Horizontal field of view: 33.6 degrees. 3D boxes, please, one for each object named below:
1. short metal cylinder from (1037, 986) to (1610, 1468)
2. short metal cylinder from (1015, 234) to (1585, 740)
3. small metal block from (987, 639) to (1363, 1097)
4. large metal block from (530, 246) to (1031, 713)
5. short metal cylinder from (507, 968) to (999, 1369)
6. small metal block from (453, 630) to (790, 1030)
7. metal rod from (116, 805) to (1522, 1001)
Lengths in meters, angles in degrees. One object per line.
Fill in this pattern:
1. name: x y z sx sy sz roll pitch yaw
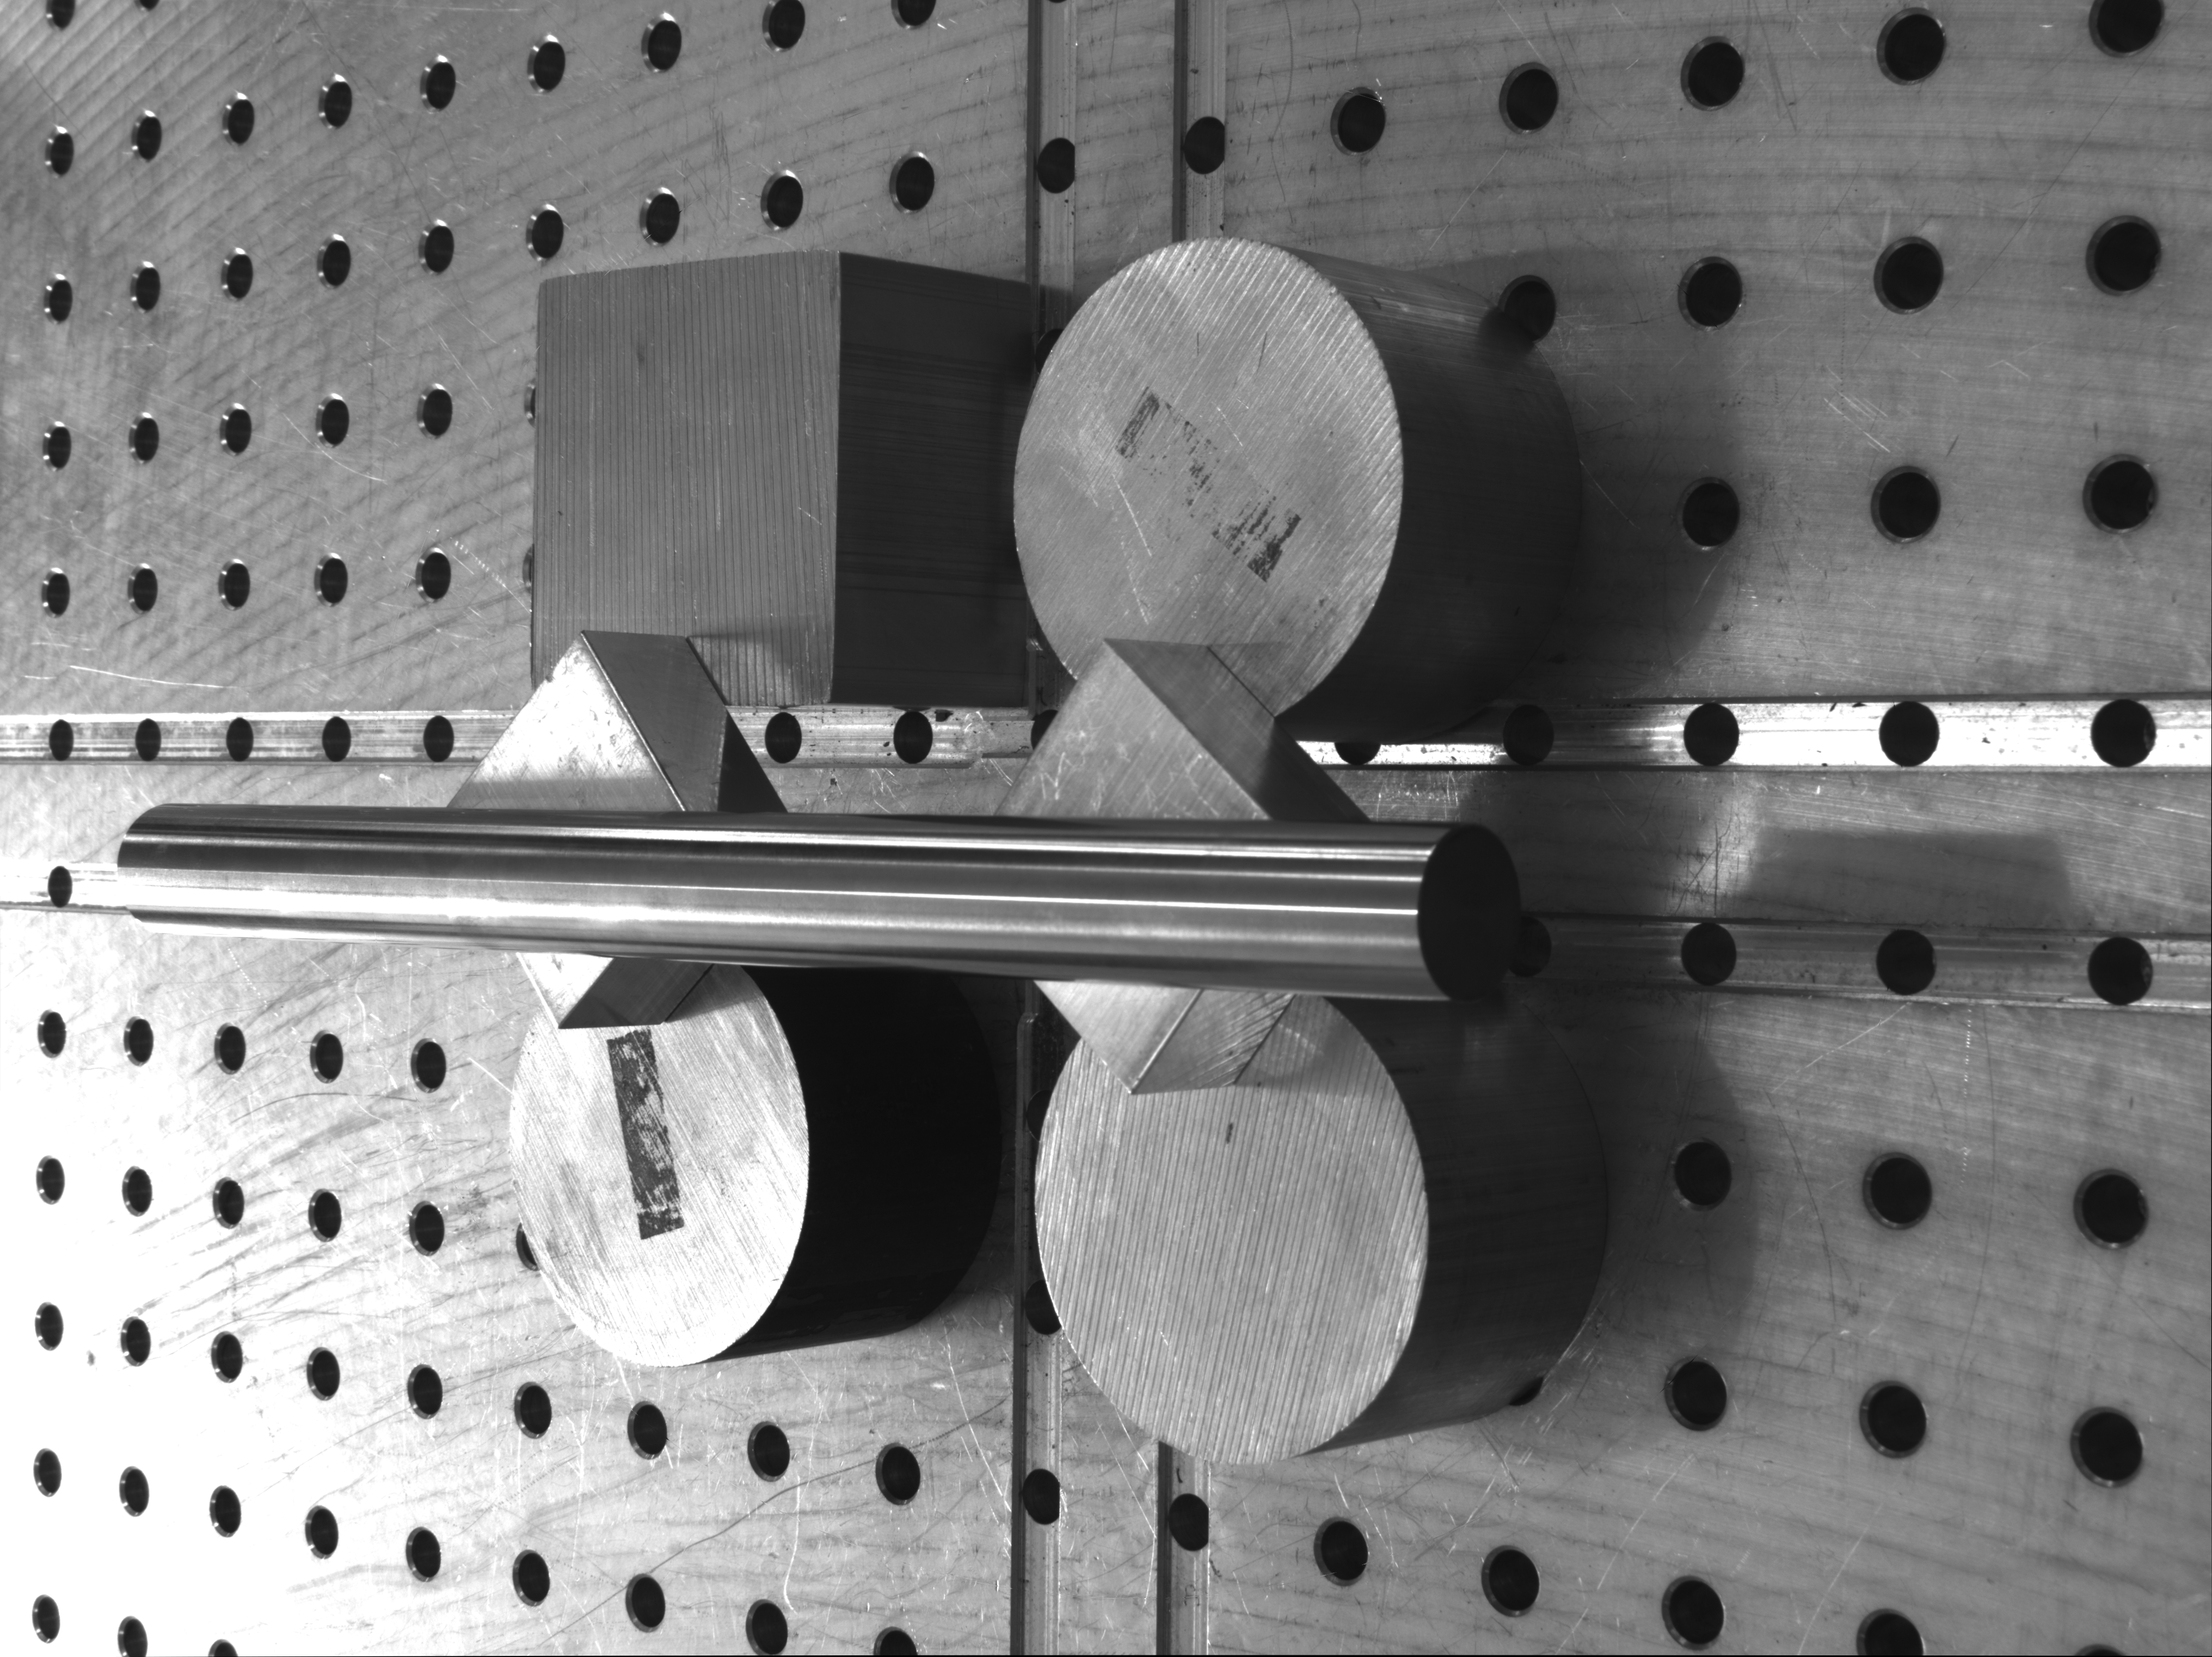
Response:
1. short metal cylinder: 0.035 0.061 0.602 0.080 0.050 0.080 0 90 40
2. short metal cylinder: 0.032 -0.055 0.605 0.080 0.050 0.080 0 90 40
3. small metal block: 0.010 0.006 0.574 0.050 0.025 0.050 48 119 30
4. large metal block: -0.061 -0.062 0.683 0.080 0.050 0.080 2 91 40
5. short metal cylinder: -0.067 0.058 0.687 0.080 0.050 0.080 0 90 40
6. small metal block: -0.086 0.000 0.656 0.050 0.025 0.050 -48 61 30
7. metal rod: -0.064 0.010 0.603 0.299 0.025 0.025 1 90 40
